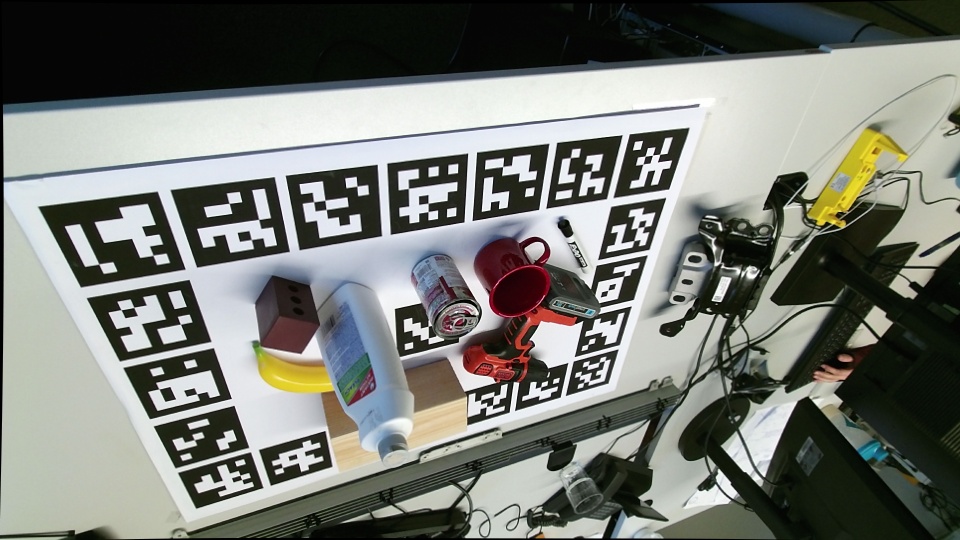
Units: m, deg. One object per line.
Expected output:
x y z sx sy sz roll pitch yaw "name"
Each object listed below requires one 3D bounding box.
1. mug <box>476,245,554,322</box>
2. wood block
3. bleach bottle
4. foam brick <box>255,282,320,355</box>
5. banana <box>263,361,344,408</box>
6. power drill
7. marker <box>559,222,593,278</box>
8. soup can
0.054 0.013 0.763 0.093 0.081 0.117 33 102 -39 "mug"
-0.130 0.232 0.837 0.207 0.090 0.090 -13 129 -19 "wood block"
-0.133 0.133 0.647 0.068 0.250 0.102 16 117 -36 "bleach bottle"
-0.237 0.061 0.657 0.053 0.078 0.051 20 116 -40 "foam brick"
-0.209 0.164 0.773 0.198 0.039 0.074 3 110 -27 "banana"
0.084 0.110 0.880 0.185 0.057 0.187 17 117 -32 "power drill"
0.148 -0.031 0.825 0.020 0.019 0.121 -36 132 -1 "marker"
-0.041 0.046 0.719 0.068 0.101 0.068 -14 134 -15 "soup can"
